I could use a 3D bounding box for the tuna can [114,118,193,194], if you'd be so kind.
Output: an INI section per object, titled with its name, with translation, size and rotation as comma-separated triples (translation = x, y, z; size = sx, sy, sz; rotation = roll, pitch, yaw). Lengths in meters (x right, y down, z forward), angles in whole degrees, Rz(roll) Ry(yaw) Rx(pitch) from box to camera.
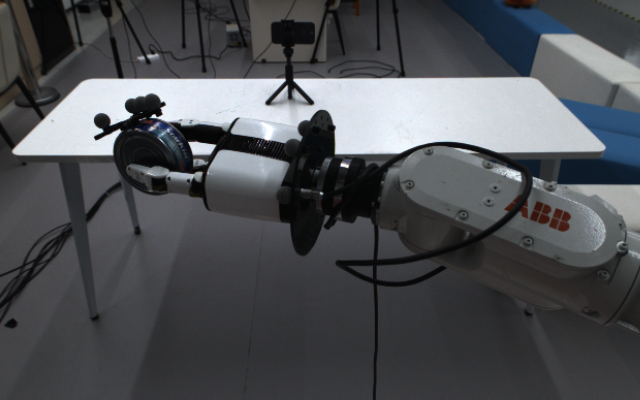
[tuna can]
translation = -0.190, -0.043, 0.559
size = 0.085, 0.085, 0.034
rotation = 11, 35, 13
